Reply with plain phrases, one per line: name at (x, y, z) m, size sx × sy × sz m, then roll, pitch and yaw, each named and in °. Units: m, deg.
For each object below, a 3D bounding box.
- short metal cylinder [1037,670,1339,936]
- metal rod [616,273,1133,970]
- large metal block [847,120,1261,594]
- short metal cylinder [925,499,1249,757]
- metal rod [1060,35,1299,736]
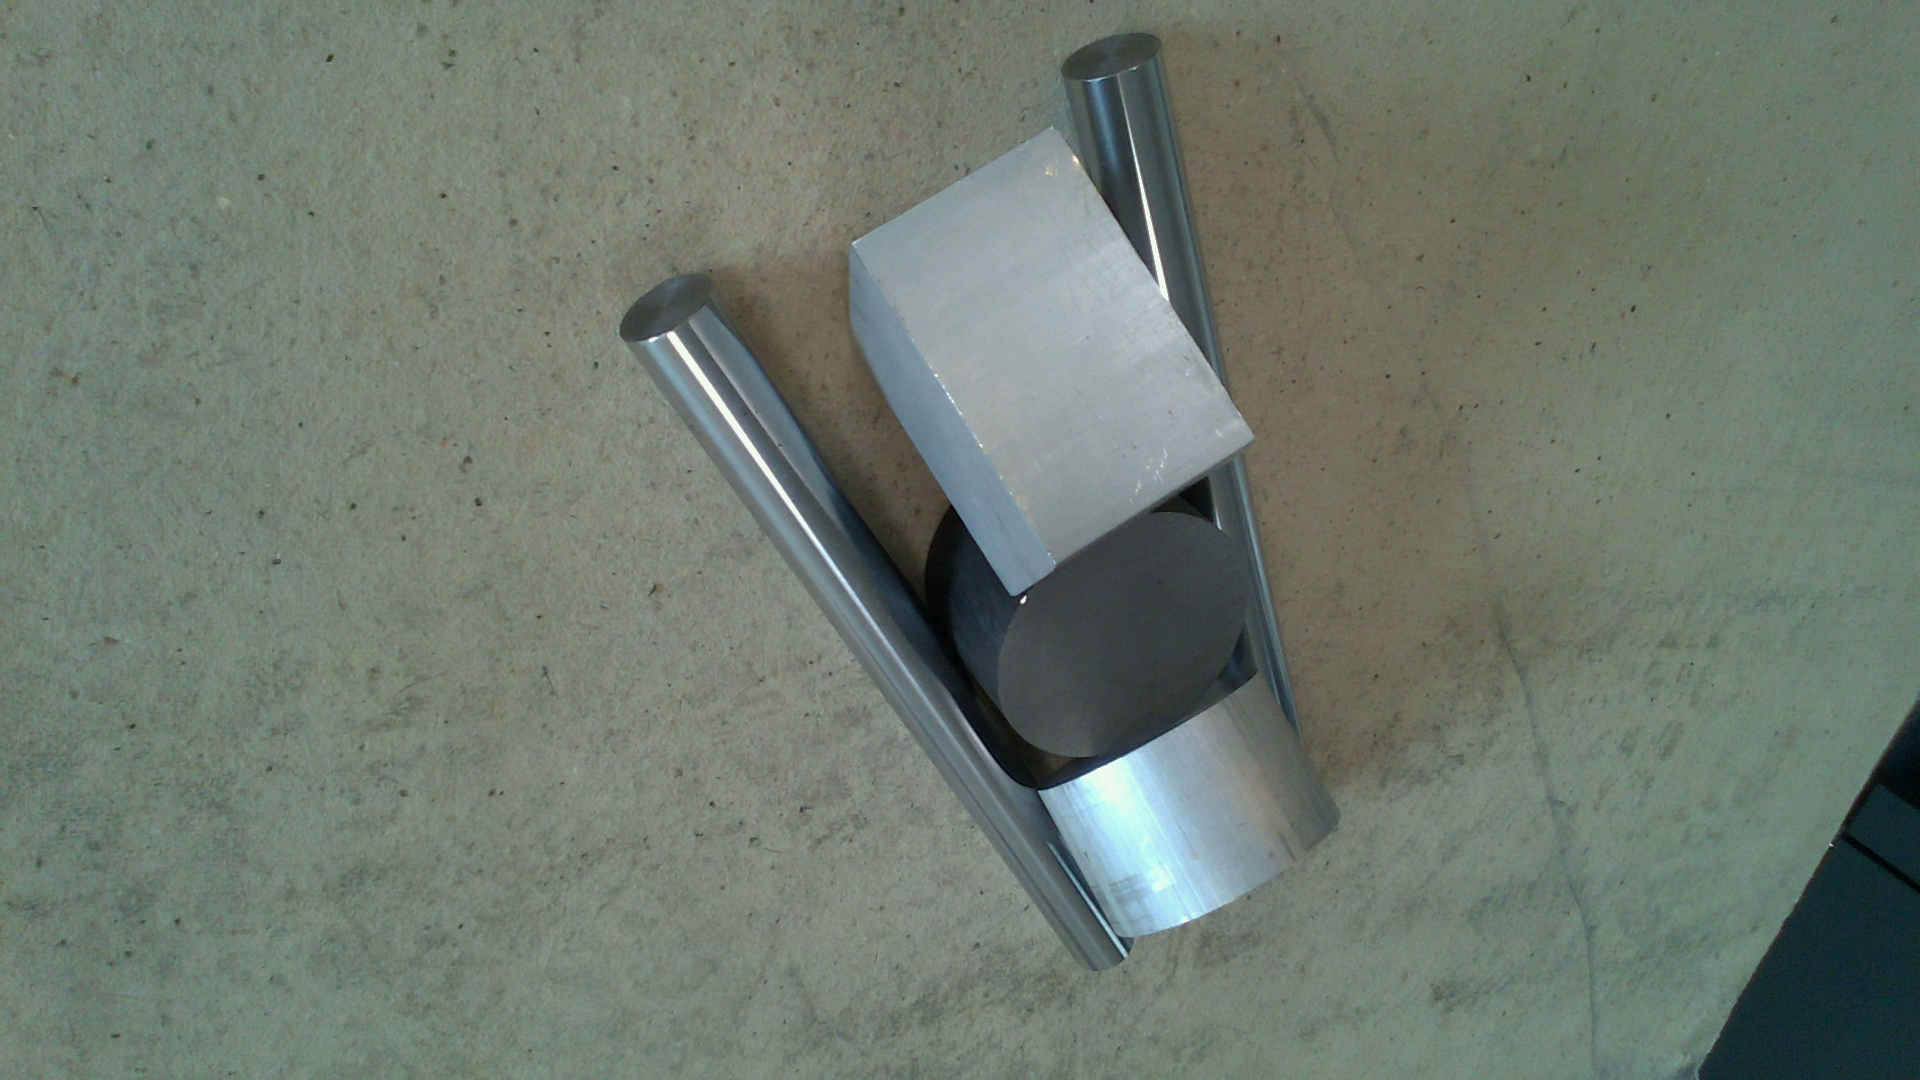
short metal cylinder at (0.071, 0.081, 0.434) m, size 0.080 × 0.080 × 0.050 m, roll -28°, pitch 86°, yaw -11°
metal rod at (-0.008, 0.046, 0.413) m, size 0.025 × 0.025 × 0.301 m, roll -35°, pitch 129°, yaw -5°
large metal block at (0.016, -0.036, 0.321) m, size 0.050 × 0.080 × 0.080 m, roll -32°, pitch 87°, yaw -8°
short metal cylinder at (0.036, 0.016, 0.403) m, size 0.080 × 0.050 × 0.080 m, roll -14°, pitch 124°, yaw -21°
metal rod at (0.079, -0.007, 0.428) m, size 0.025 × 0.025 × 0.300 m, roll -29°, pitch 128°, yaw -10°
